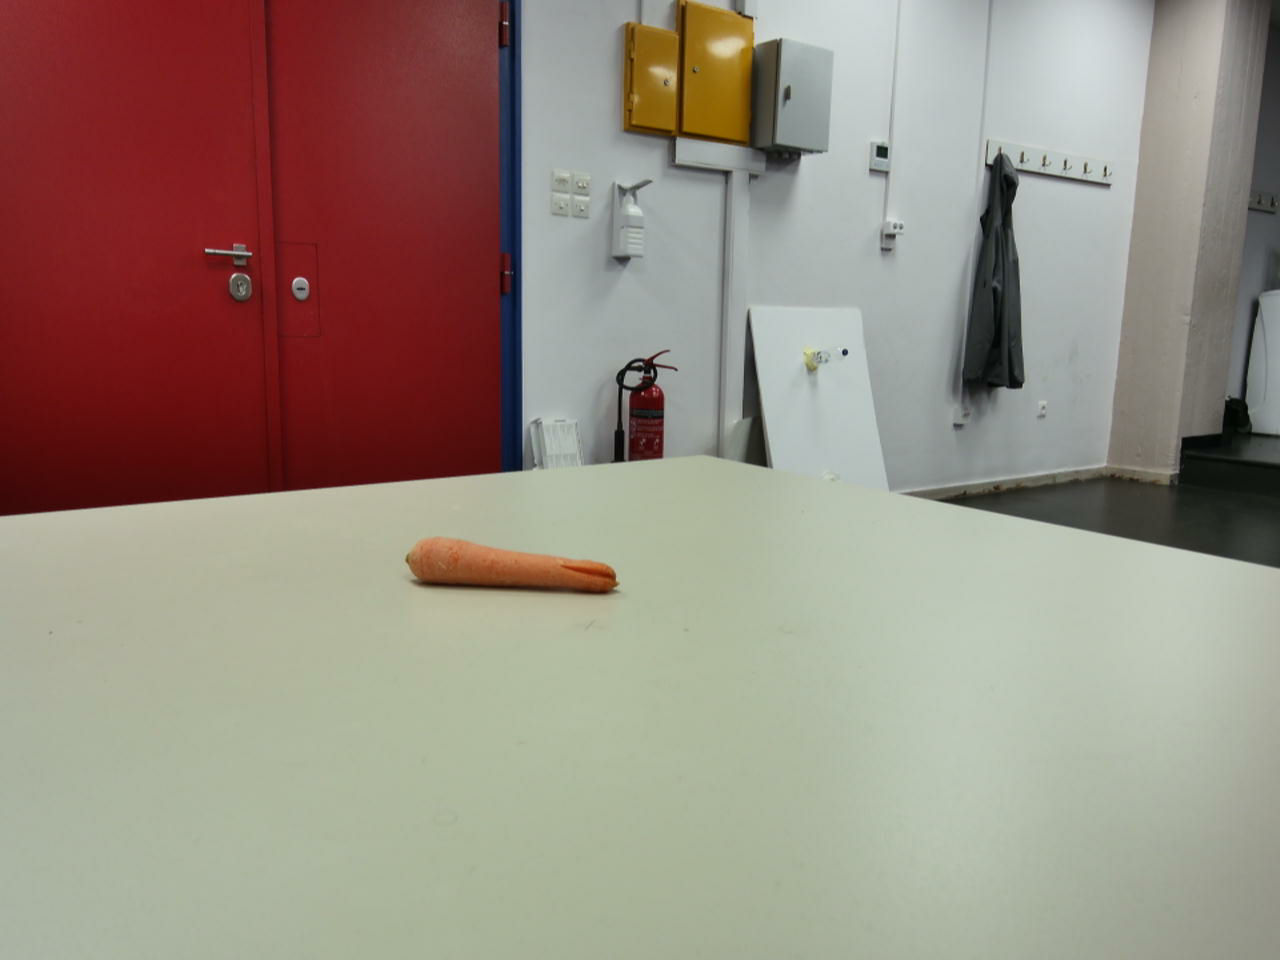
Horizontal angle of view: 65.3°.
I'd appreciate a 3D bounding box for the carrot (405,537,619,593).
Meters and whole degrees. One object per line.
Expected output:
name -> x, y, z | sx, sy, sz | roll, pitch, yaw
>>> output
carrot -> -0.081, 0.052, 0.624 | 0.136, 0.032, 0.030 | 2, 8, 10
